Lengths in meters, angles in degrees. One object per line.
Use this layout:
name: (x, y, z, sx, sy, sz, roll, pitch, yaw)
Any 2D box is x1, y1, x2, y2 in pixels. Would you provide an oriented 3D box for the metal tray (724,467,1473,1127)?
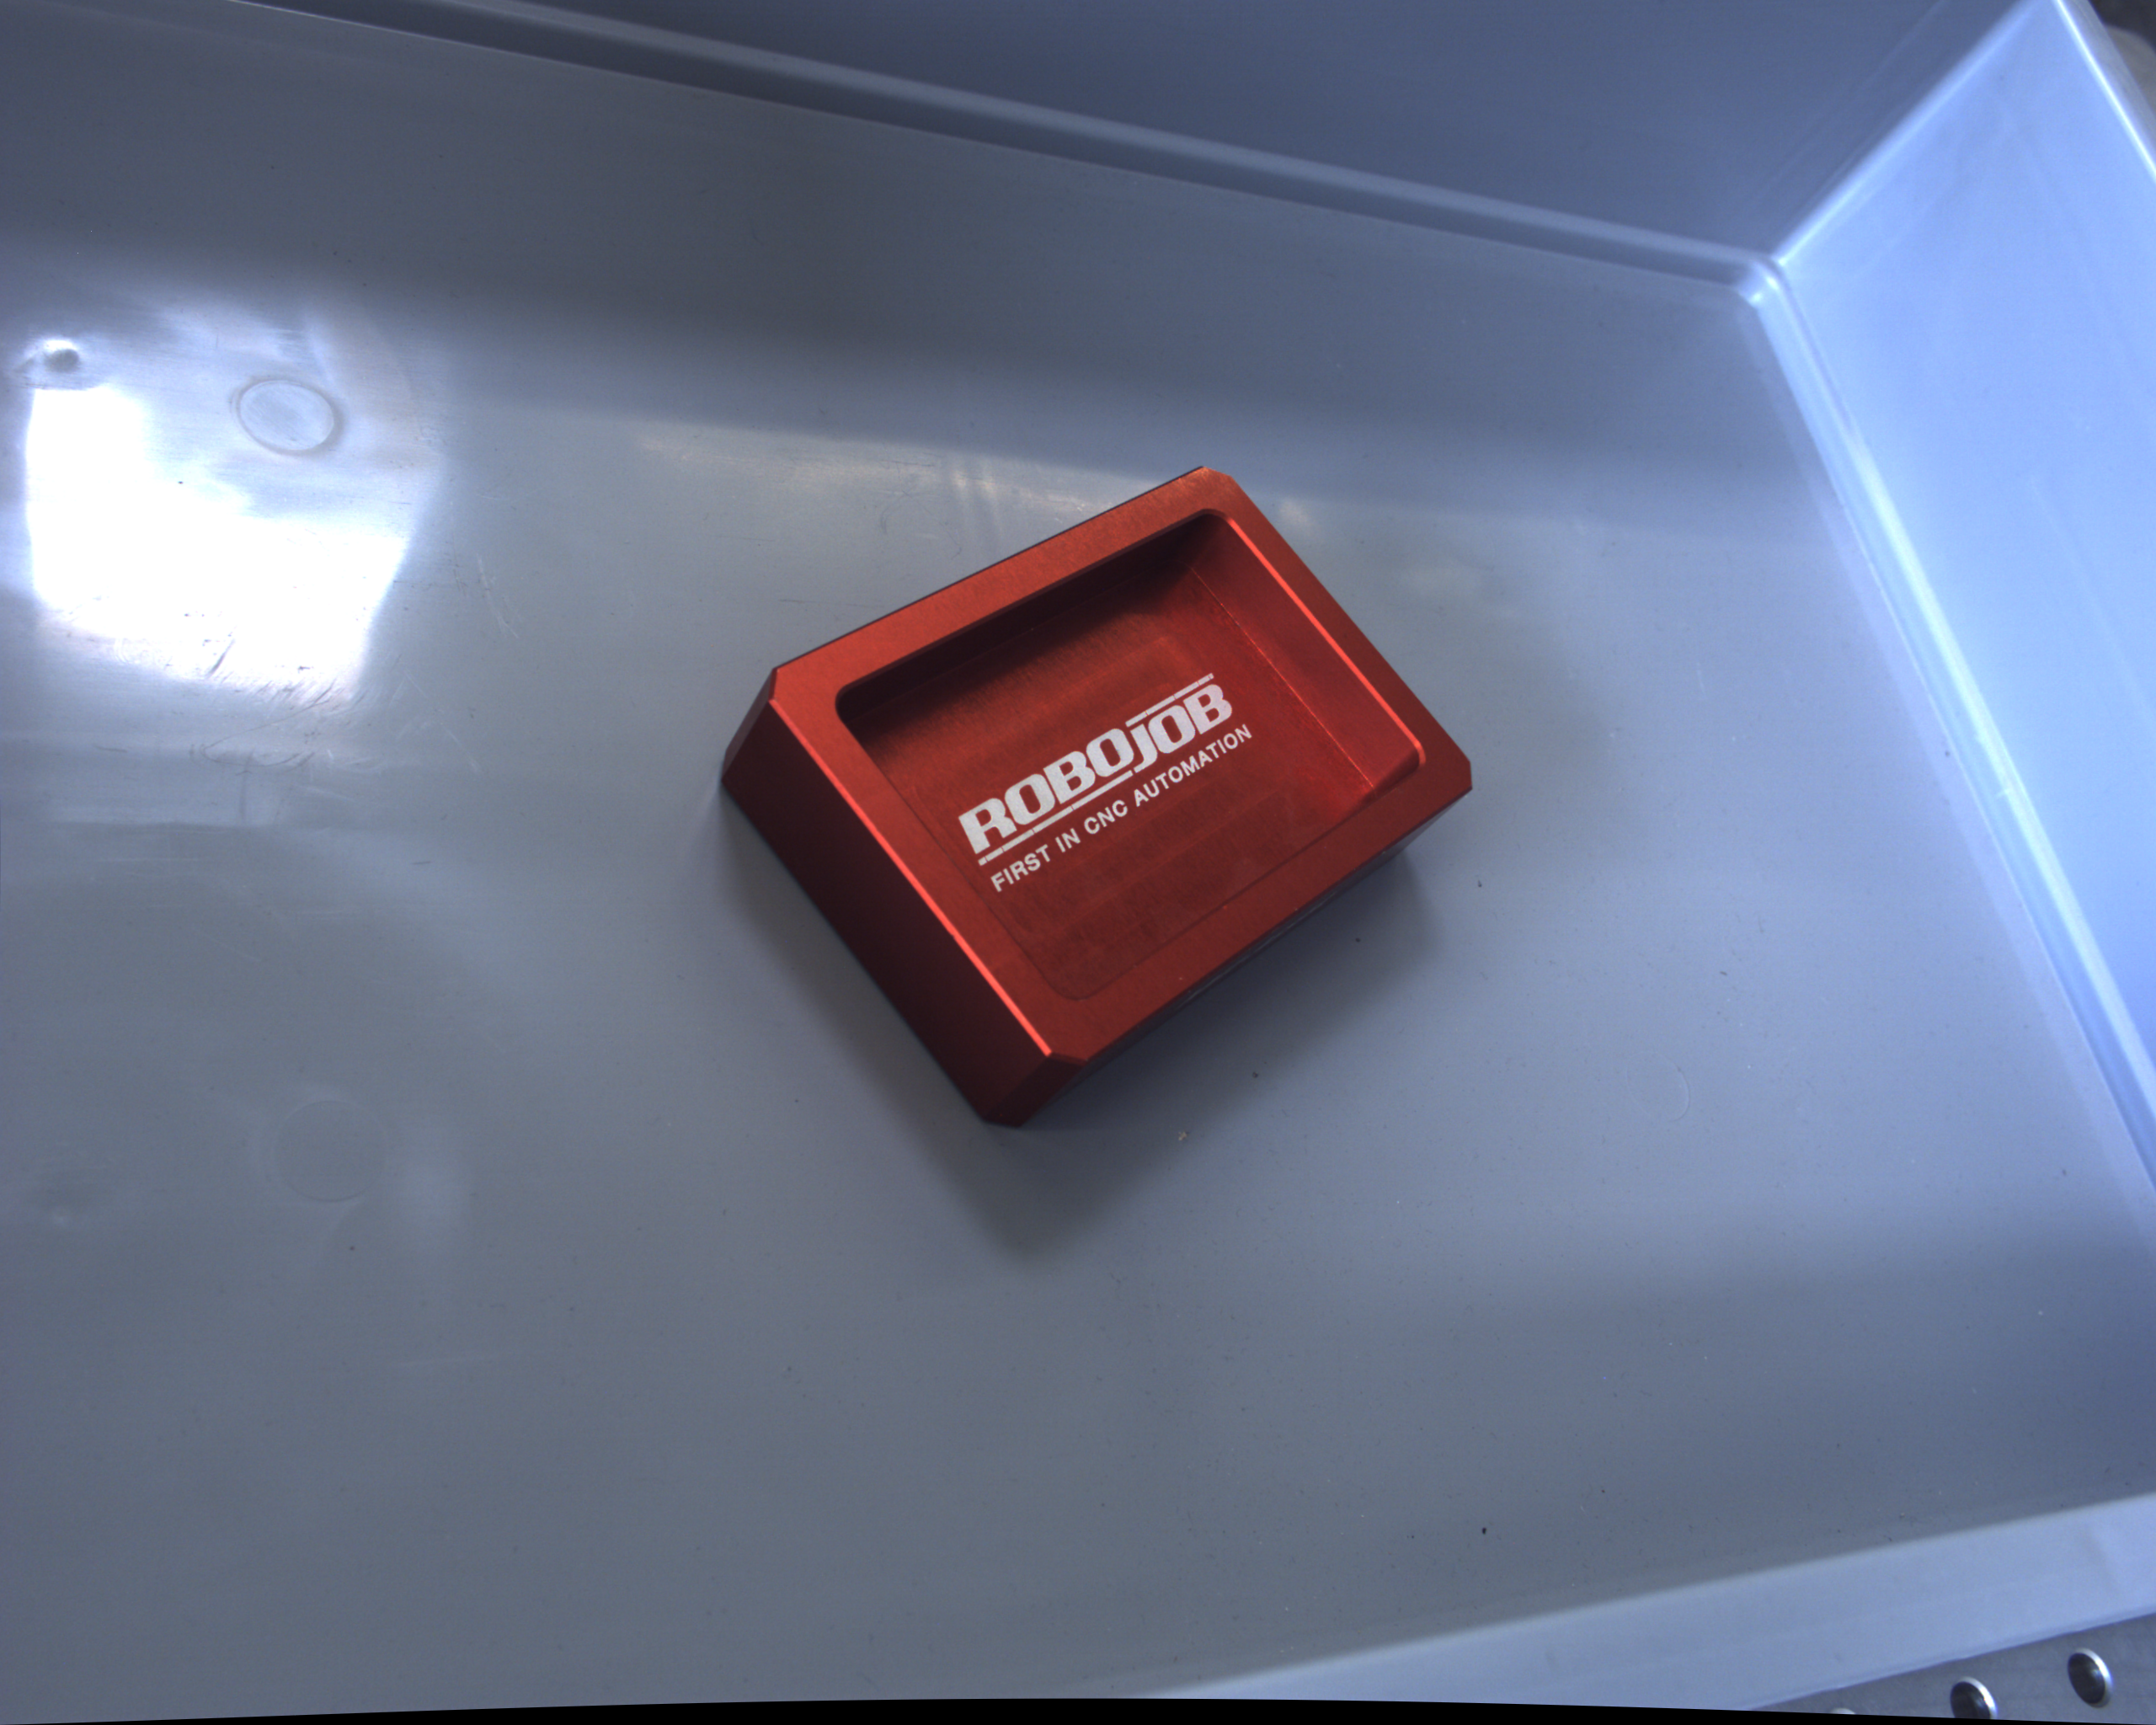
metal tray: (0.008, -0.018, 0.413, 0.131, 0.030, 0.090, -32, 80, -38)
